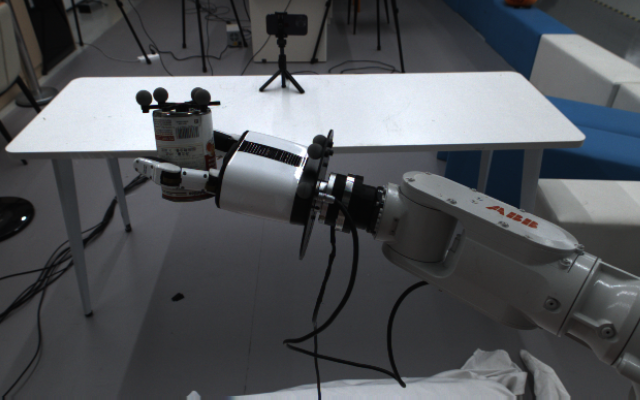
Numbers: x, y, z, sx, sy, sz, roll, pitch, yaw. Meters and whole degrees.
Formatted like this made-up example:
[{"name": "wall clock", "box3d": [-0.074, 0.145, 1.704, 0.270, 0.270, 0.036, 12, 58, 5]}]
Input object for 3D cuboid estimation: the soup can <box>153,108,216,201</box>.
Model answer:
[{"name": "soup can", "box3d": [-0.156, -0.054, 0.569, 0.067, 0.101, 0.067, -1, 17, 0]}]
